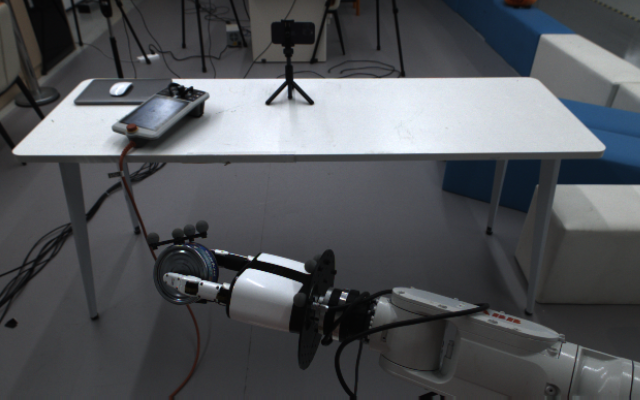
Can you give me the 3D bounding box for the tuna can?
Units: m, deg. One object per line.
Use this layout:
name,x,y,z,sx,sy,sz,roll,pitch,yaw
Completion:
tuna can,-0.185,0.109,0.674,0.085,0.085,0.034,12,3,14
